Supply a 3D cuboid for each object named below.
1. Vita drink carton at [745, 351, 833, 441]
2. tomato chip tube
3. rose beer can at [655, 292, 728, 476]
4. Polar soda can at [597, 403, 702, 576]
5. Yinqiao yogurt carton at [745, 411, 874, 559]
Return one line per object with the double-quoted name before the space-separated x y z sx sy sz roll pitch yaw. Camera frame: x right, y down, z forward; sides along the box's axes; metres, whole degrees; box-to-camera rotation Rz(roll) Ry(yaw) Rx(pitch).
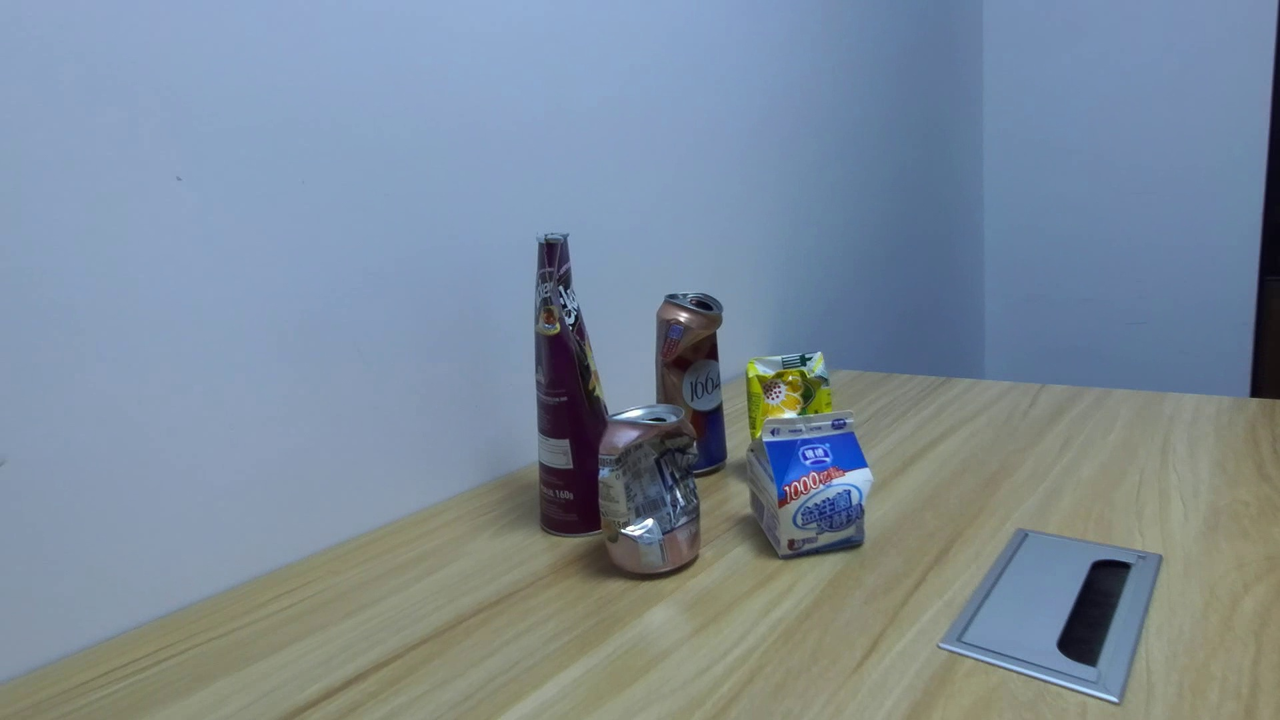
"Vita drink carton" 0.129 0.053 0.607 0.071 0.109 0.046 -4 10 11
"tomato chip tube" -0.056 0.018 0.565 0.077 0.235 0.090 6 13 42
"rose beer can" 0.047 0.023 0.660 0.070 0.168 0.069 -4 15 -8
"Polar soda can" 0.008 0.088 0.494 0.070 0.114 0.074 0 15 0
"Yinqiao yogurt carton" 0.122 0.082 0.504 0.074 0.097 0.080 -7 18 -8
